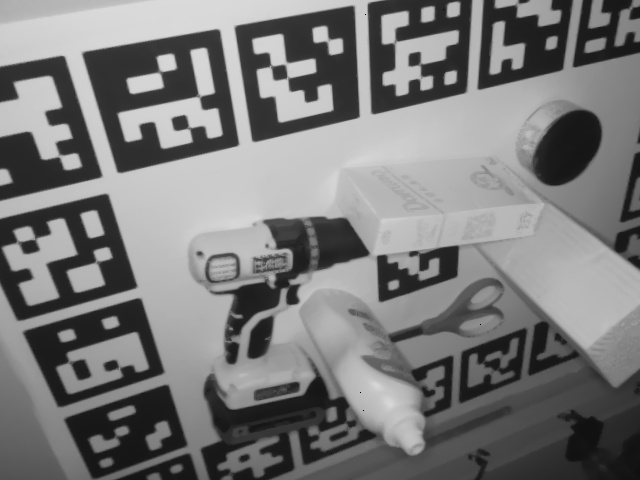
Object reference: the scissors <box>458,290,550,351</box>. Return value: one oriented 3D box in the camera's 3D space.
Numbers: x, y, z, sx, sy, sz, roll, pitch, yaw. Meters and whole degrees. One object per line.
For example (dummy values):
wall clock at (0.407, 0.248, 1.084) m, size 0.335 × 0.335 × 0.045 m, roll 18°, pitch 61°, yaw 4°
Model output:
scissors at (0.179, 0.110, 0.797) m, size 0.205 × 0.016 × 0.087 m, roll -14°, pitch 125°, yaw -16°

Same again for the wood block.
wood block at (0.272, 0.044, 0.699) m, size 0.091 × 0.206 × 0.090 m, roll -39°, pitch 124°, yaw 2°

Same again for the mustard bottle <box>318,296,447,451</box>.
mustard bottle at (0.068, 0.131, 0.665) m, size 0.097 × 0.191 × 0.058 m, roll 35°, pitch 100°, yaw -32°

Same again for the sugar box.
sugar box at (0.128, -0.031, 0.655) m, size 0.178 × 0.093 × 0.045 m, roll -4°, pitch 122°, yaw -19°

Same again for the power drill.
power drill at (-0.001, 0.073, 0.674) m, size 0.187 × 0.057 × 0.185 m, roll -4°, pitch 111°, yaw -22°

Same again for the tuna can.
tuna can at (0.275, -0.092, 0.714) m, size 0.087 × 0.033 × 0.085 m, roll -10°, pitch 120°, yaw -17°
